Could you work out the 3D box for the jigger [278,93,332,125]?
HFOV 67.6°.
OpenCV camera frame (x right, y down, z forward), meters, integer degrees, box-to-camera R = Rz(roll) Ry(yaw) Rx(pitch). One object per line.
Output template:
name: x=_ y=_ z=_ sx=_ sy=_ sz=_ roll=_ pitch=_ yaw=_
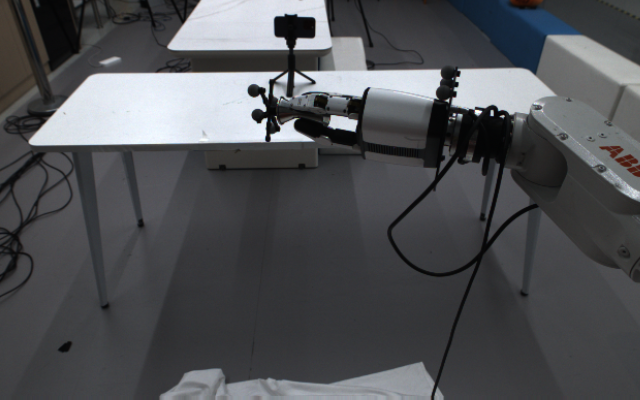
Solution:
jigger: x=-0.016 y=-0.129 z=0.680 sx=0.071 sy=0.043 sz=0.043 roll=2 pitch=34 yaw=15
